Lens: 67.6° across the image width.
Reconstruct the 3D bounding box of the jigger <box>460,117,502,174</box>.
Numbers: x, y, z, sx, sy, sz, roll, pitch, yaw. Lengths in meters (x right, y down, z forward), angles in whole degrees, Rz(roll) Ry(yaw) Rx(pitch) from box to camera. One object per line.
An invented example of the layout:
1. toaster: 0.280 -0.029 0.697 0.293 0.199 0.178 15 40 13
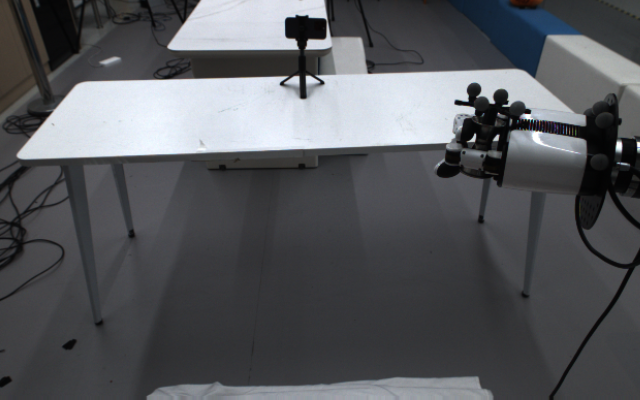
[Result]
1. jigger: 0.203 -0.066 0.608 0.043 0.071 0.043 6 26 -3
